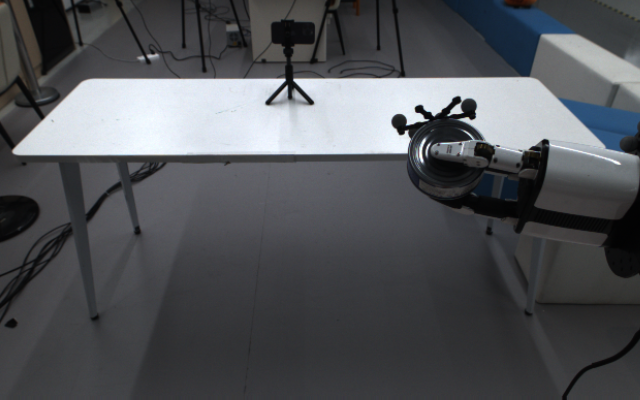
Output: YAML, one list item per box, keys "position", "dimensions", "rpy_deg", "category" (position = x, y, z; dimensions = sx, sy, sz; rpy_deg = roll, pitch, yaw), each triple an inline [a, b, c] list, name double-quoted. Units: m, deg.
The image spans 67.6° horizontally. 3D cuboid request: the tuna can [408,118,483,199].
- position: [0.142, -0.048, 0.532]
  dimensions: [0.085, 0.034, 0.085]
  rpy_deg: [-4, 68, 9]
  category: "tuna can"
